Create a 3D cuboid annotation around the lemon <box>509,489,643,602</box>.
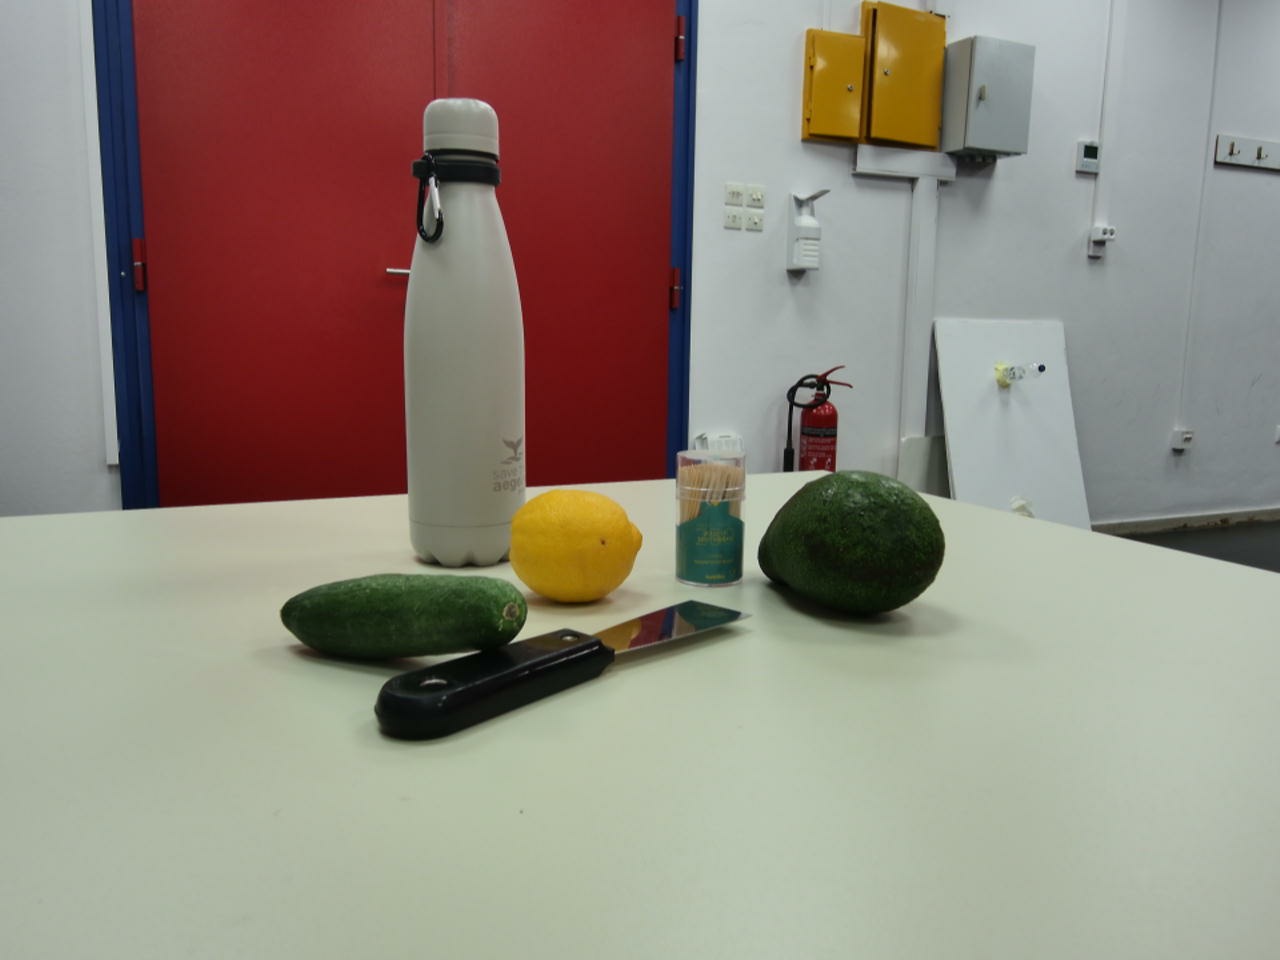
[{"bbox_3d":[-0.036,0.035,0.530,0.067,0.059,0.060,3,7,17],"label":"lemon"}]
